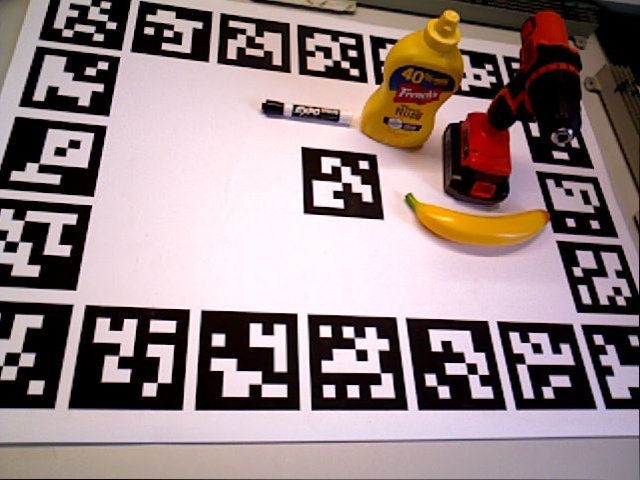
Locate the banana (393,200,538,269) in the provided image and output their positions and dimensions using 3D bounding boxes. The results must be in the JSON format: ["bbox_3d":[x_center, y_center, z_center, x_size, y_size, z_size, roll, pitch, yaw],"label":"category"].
[{"bbox_3d":[0.186,0.000,0.688,0.196,0.039,0.073,11,63,-6],"label":"banana"}]

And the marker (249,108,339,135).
[{"bbox_3d":[-0.034,-0.158,0.724,0.120,0.020,0.019,7,62,-10],"label":"marker"}]

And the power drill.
[{"bbox_3d":[0.216,-0.122,0.646,0.057,0.191,0.181,17,57,-7],"label":"power drill"}]

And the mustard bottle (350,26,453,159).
[{"bbox_3d":[0.108,-0.180,0.669,0.095,0.196,0.057,15,59,-7],"label":"mustard bottle"}]
